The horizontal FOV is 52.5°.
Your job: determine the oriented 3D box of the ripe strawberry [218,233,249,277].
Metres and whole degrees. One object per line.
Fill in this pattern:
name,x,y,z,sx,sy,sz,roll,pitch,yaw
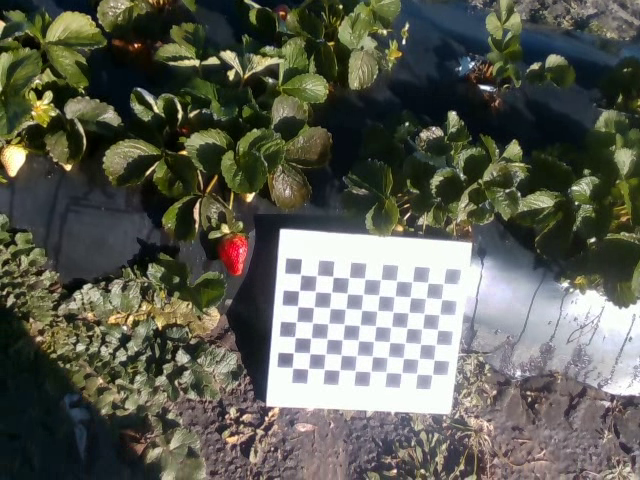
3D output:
ripe strawberry,-0.123,0.022,0.896,0.048,0.069,0.040,-14,4,-3
